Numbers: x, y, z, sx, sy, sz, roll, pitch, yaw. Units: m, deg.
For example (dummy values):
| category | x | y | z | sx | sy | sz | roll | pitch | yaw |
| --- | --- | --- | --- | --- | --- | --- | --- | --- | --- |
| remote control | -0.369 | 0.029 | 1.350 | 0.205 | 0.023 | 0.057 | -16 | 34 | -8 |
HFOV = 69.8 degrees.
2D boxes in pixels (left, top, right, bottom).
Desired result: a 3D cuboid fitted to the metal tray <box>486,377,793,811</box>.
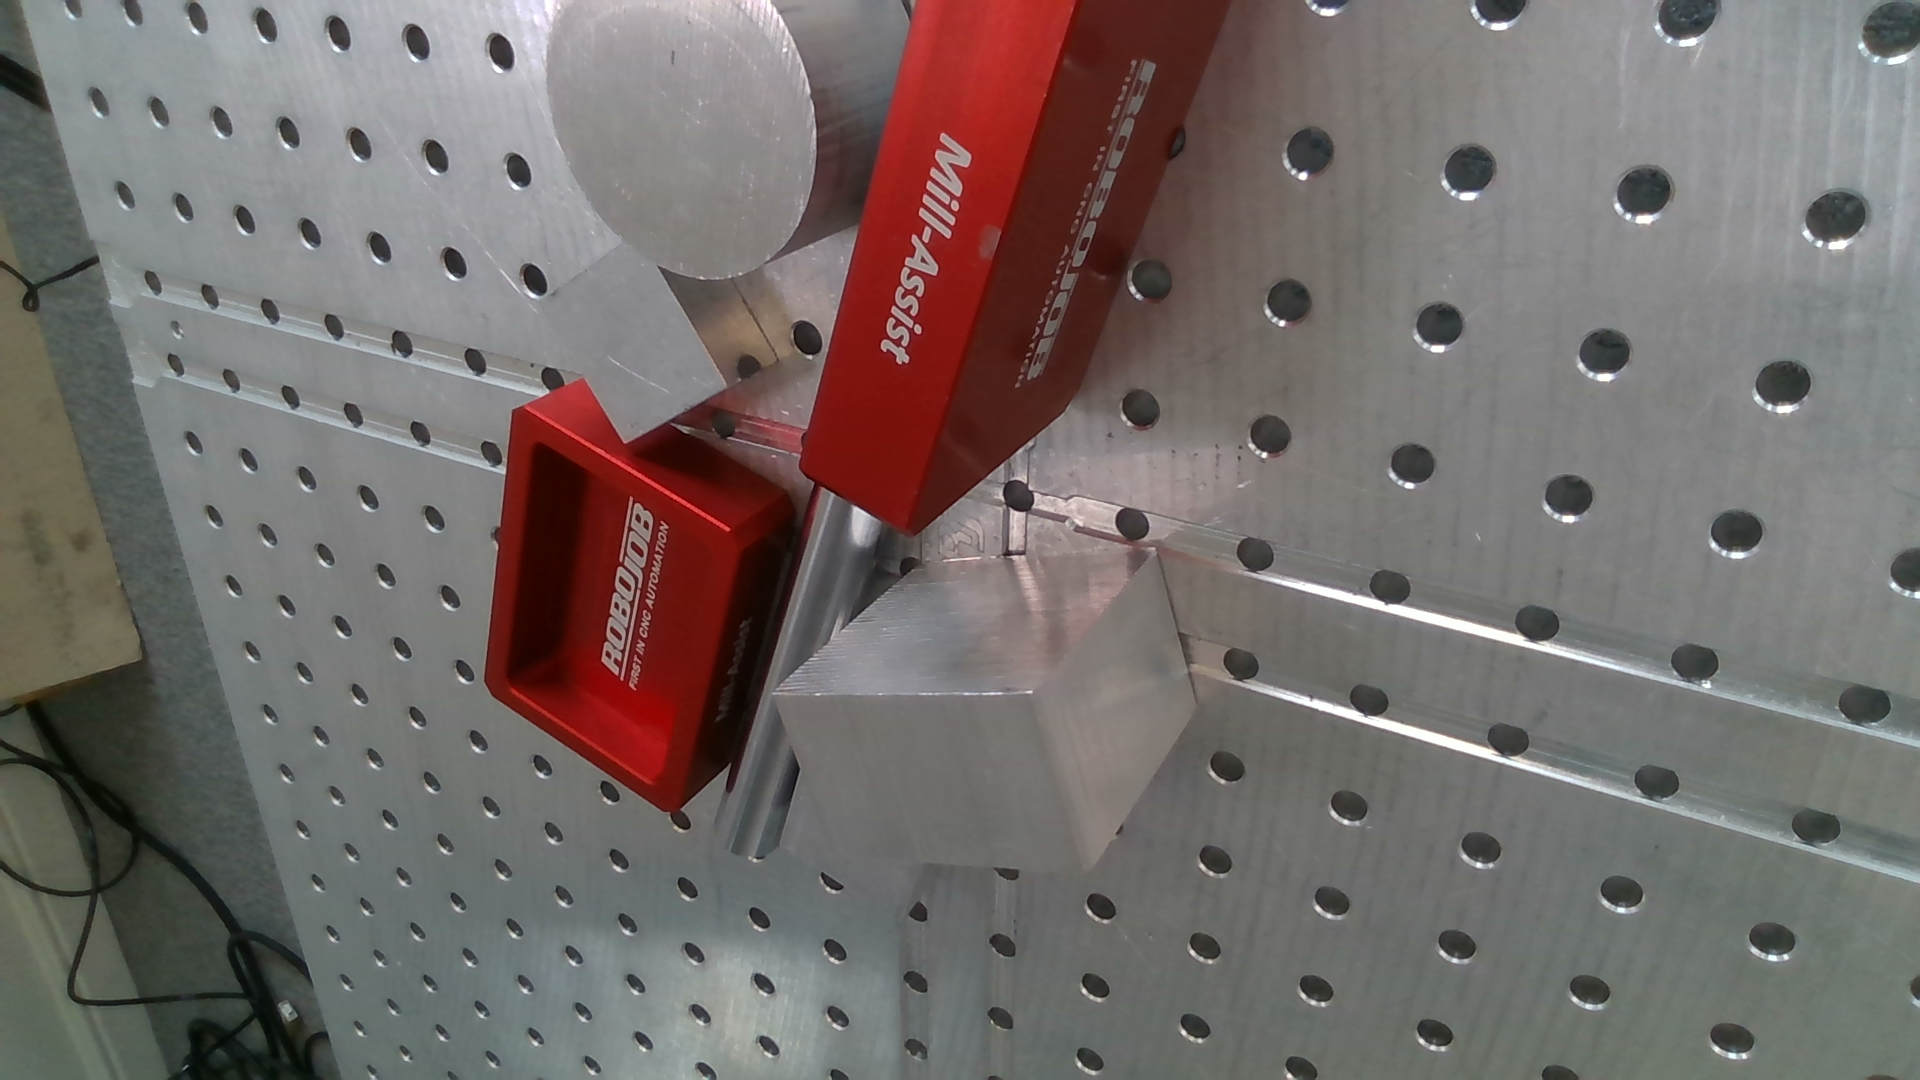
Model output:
| category | x | y | z | sx | sy | sz | roll | pitch | yaw |
| --- | --- | --- | --- | --- | --- | --- | --- | --- | --- |
| metal tray | -0.113 | 0.021 | 0.469 | 0.090 | 0.030 | 0.130 | 30 | 127 | 15 |

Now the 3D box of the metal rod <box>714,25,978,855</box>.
| category | x | y | z | sx | sy | sz | roll | pitch | yaw |
| --- | --- | --- | --- | --- | --- | --- | --- | --- | --- |
| metal rod | -0.033 | -0.010 | 0.407 | 0.025 | 0.025 | 0.301 | 31 | 127 | 14 |

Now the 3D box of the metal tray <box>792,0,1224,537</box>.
| category | x | y | z | sx | sy | sz | roll | pitch | yaw |
| --- | --- | --- | --- | --- | --- | --- | --- | --- | --- |
| metal tray | 0.013 | -0.074 | 0.300 | 0.030 | 0.090 | 0.130 | 31 | 127 | 14 |

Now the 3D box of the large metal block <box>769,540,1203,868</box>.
| category | x | y | z | sx | sy | sz | roll | pitch | yaw |
| --- | --- | --- | --- | --- | --- | --- | --- | --- | --- |
| large metal block | 0.010 | 0.042 | 0.375 | 0.080 | 0.080 | 0.050 | -5 | 112 | 33 |

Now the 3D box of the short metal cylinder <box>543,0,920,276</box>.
| category | x | y | z | sx | sy | sz | roll | pitch | yaw |
| --- | --- | --- | --- | --- | --- | --- | --- | --- | --- |
| short metal cylinder | -0.057 | -0.113 | 0.348 | 0.080 | 0.050 | 0.080 | 15 | 122 | 25 |

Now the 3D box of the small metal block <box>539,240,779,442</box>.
| category | x | y | z | sx | sy | sz | roll | pitch | yaw |
| --- | --- | --- | --- | --- | --- | --- | --- | --- | --- |
| small metal block | -0.091 | -0.064 | 0.413 | 0.050 | 0.025 | 0.050 | -21 | 103 | 38 |

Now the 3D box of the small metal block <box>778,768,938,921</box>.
| category | x | y | z | sx | sy | sz | roll | pitch | yaw |
| --- | --- | --- | --- | --- | --- | --- | --- | --- | --- |
| small metal block | -0.029 | 0.090 | 0.459 | 0.050 | 0.025 | 0.050 | 29 | 127 | 15 |
